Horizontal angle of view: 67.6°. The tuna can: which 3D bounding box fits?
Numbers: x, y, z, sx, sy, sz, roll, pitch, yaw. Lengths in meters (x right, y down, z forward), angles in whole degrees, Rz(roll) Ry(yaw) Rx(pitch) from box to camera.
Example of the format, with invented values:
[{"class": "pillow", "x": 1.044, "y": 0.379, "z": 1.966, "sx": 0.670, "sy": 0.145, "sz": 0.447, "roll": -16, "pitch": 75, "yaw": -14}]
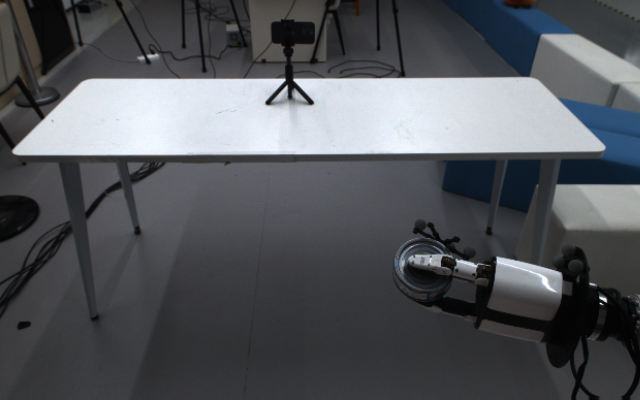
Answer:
[{"class": "tuna can", "x": 0.148, "y": 0.095, "z": 0.680, "sx": 0.085, "sy": 0.034, "sz": 0.085, "roll": -4, "pitch": 58, "yaw": 6}]
